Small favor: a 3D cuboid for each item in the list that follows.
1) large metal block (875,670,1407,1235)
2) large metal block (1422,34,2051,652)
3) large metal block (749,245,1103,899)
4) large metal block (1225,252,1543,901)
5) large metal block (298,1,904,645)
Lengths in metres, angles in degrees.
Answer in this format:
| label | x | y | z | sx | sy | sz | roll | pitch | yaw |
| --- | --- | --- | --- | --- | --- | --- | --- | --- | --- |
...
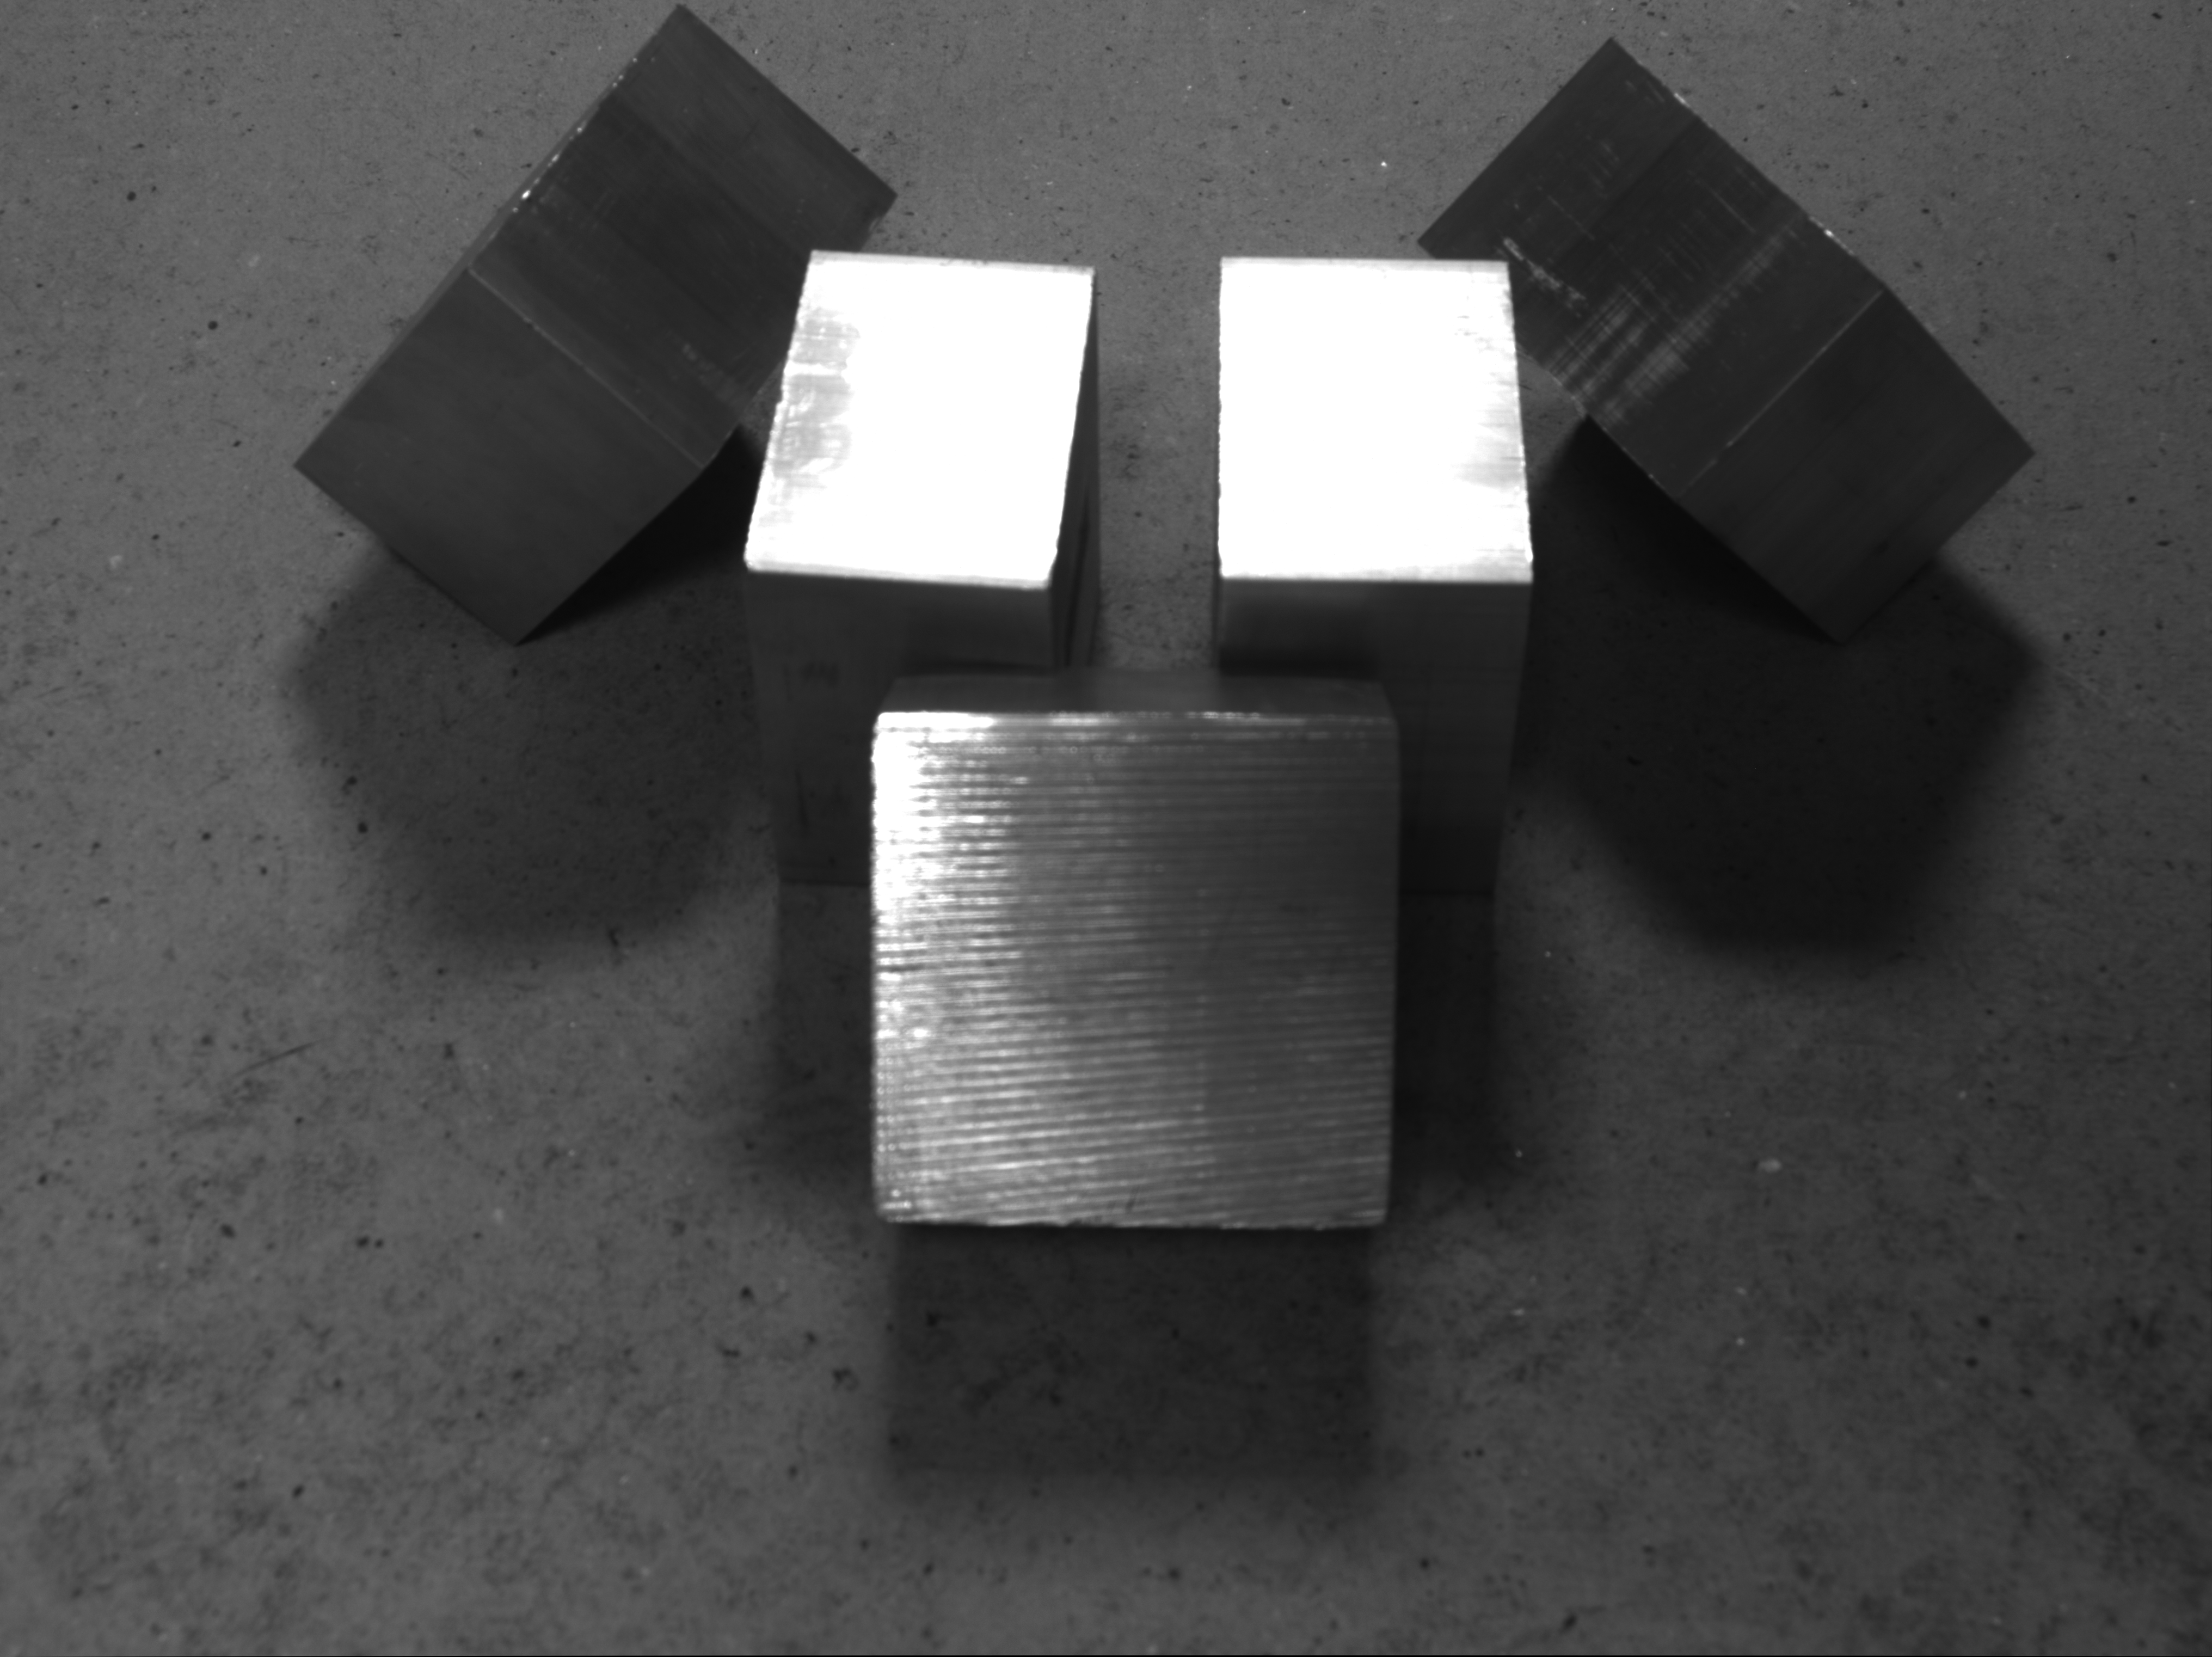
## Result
| label | x | y | z | sx | sy | sz | roll | pitch | yaw |
| --- | --- | --- | --- | --- | --- | --- | --- | --- | --- |
| large metal block | 0.005 | 0.018 | 0.583 | 0.080 | 0.080 | 0.050 | 1 | 11 | 1 |
| large metal block | 0.116 | -0.088 | 0.672 | 0.050 | 0.080 | 0.080 | -46 | 55 | 12 |
| large metal block | -0.029 | -0.044 | 0.644 | 0.050 | 0.080 | 0.080 | 4 | 50 | 3 |
| large metal block | 0.046 | -0.044 | 0.644 | 0.050 | 0.080 | 0.080 | 1 | 50 | 1 |
| large metal block | -0.093 | -0.092 | 0.672 | 0.050 | 0.080 | 0.080 | 40 | 52 | -14 |
